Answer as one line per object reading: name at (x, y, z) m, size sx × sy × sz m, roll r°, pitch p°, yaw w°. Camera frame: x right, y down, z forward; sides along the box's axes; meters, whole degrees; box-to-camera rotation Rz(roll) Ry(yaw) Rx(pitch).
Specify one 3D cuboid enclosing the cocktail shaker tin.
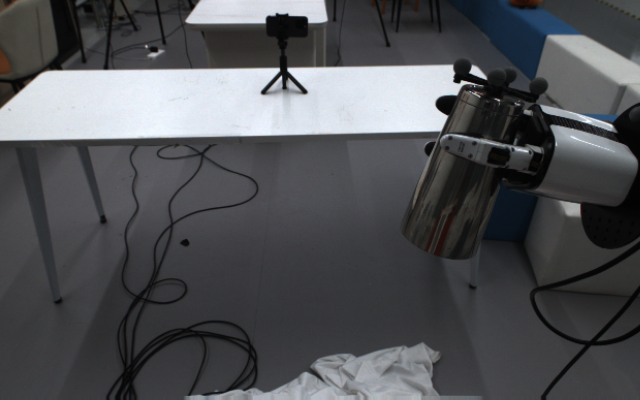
cocktail shaker tin at (0.160, -0.035, 0.528) m, size 0.093 × 0.170 × 0.093 m, roll 12°, pitch 25°, yaw -6°
